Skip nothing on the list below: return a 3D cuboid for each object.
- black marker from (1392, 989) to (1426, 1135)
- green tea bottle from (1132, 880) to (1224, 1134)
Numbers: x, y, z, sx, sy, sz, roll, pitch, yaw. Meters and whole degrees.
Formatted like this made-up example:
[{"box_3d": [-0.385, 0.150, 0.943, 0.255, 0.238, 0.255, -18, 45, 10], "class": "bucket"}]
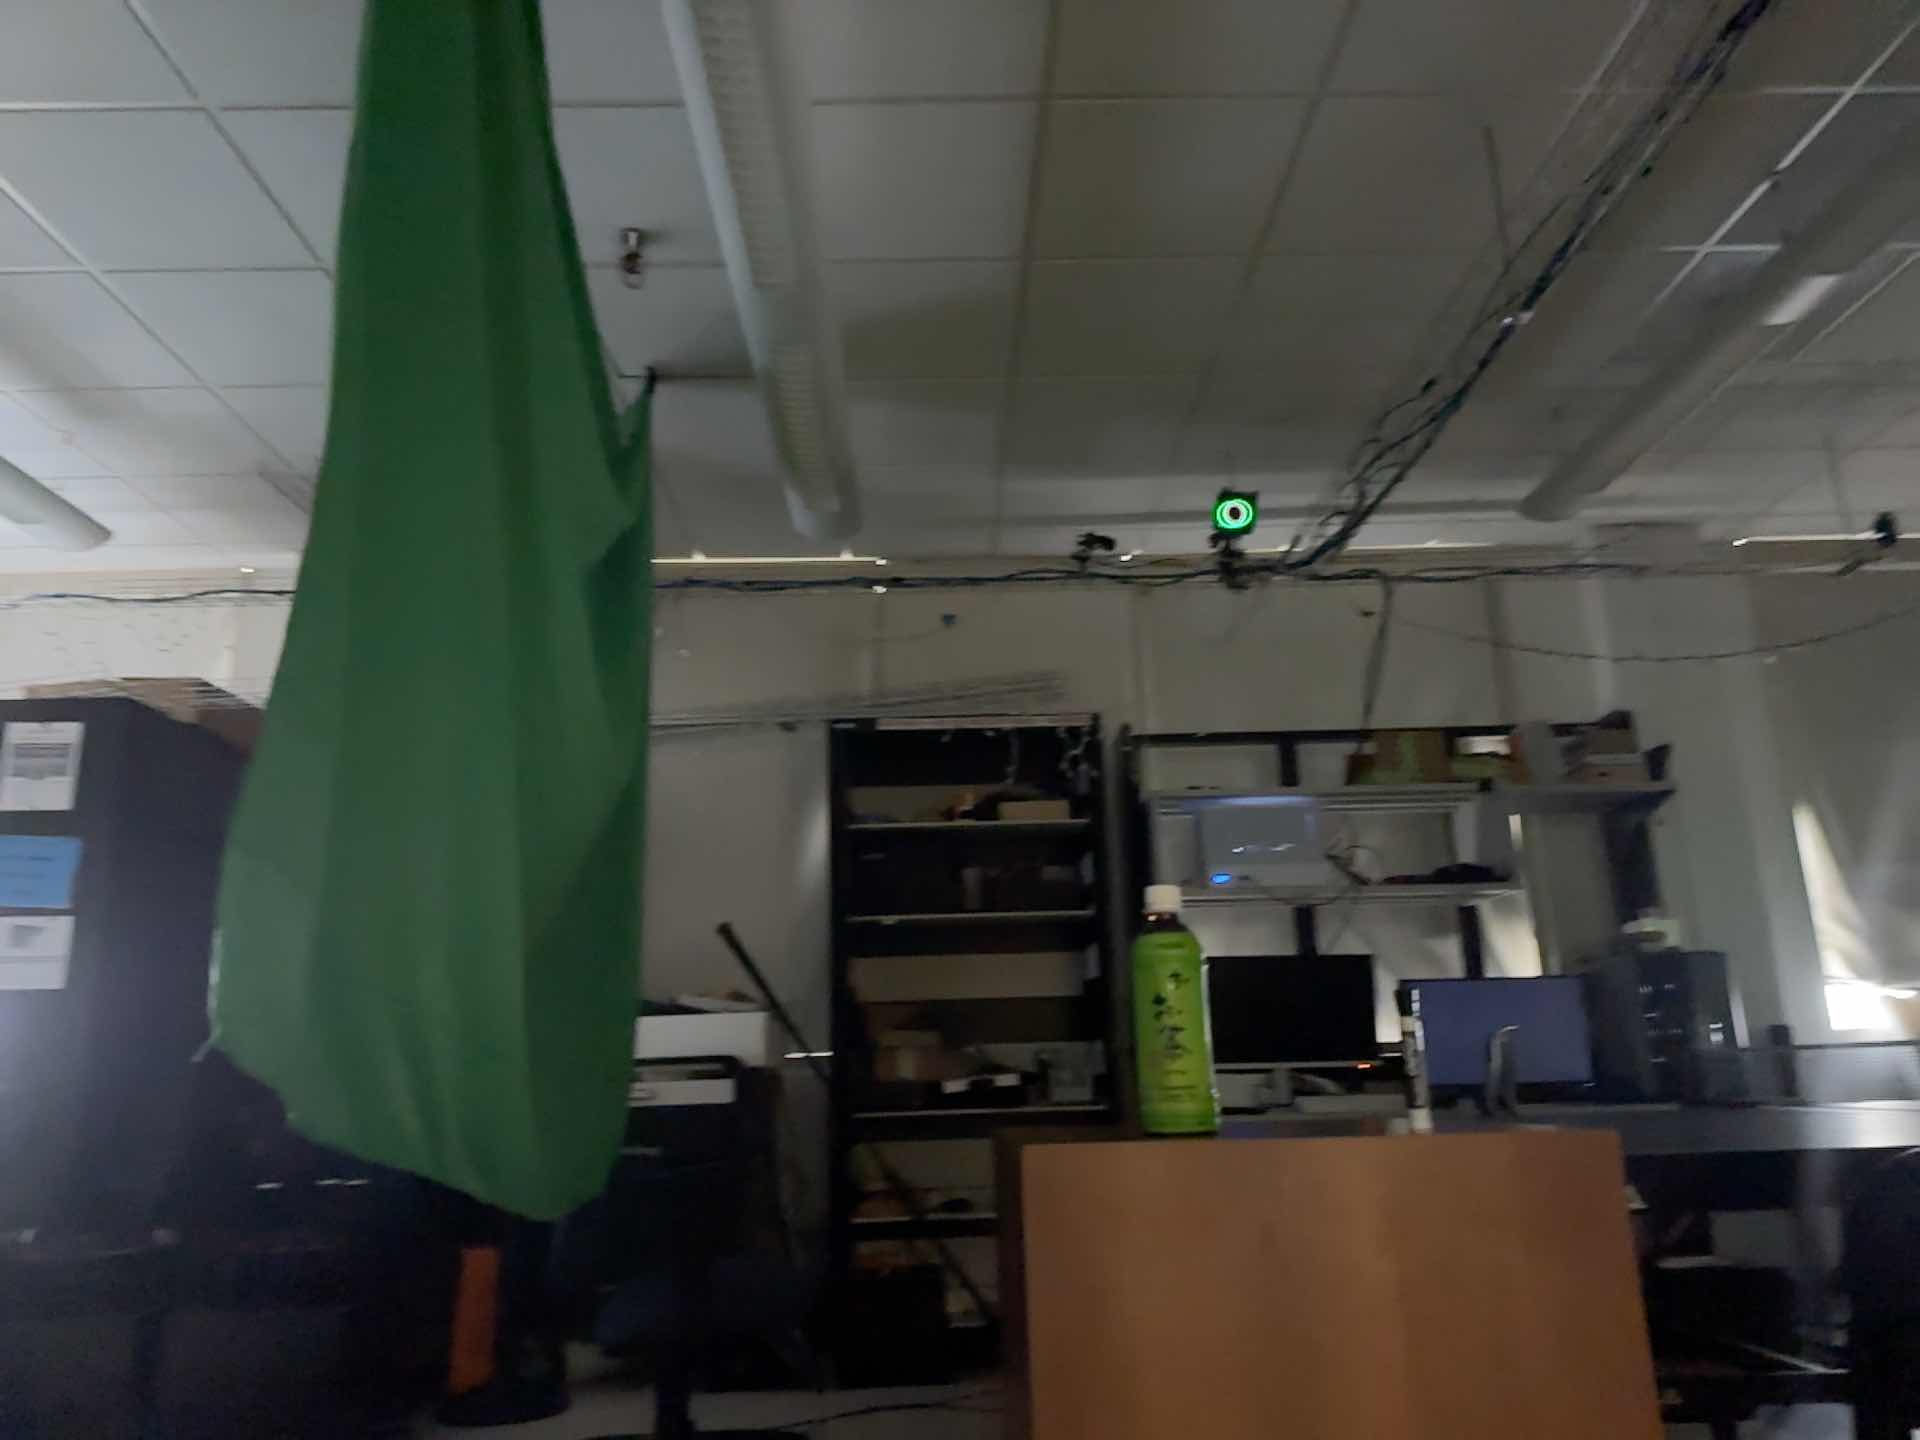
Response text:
[{"box_3d": [0.387, 0.294, 1.159, 0.020, 0.121, 0.020, 0, -14, 0], "class": "black marker"}, {"box_3d": [0.183, 0.244, 1.155, 0.073, 0.212, 0.073, -3, -15, -1], "class": "green tea bottle"}]
